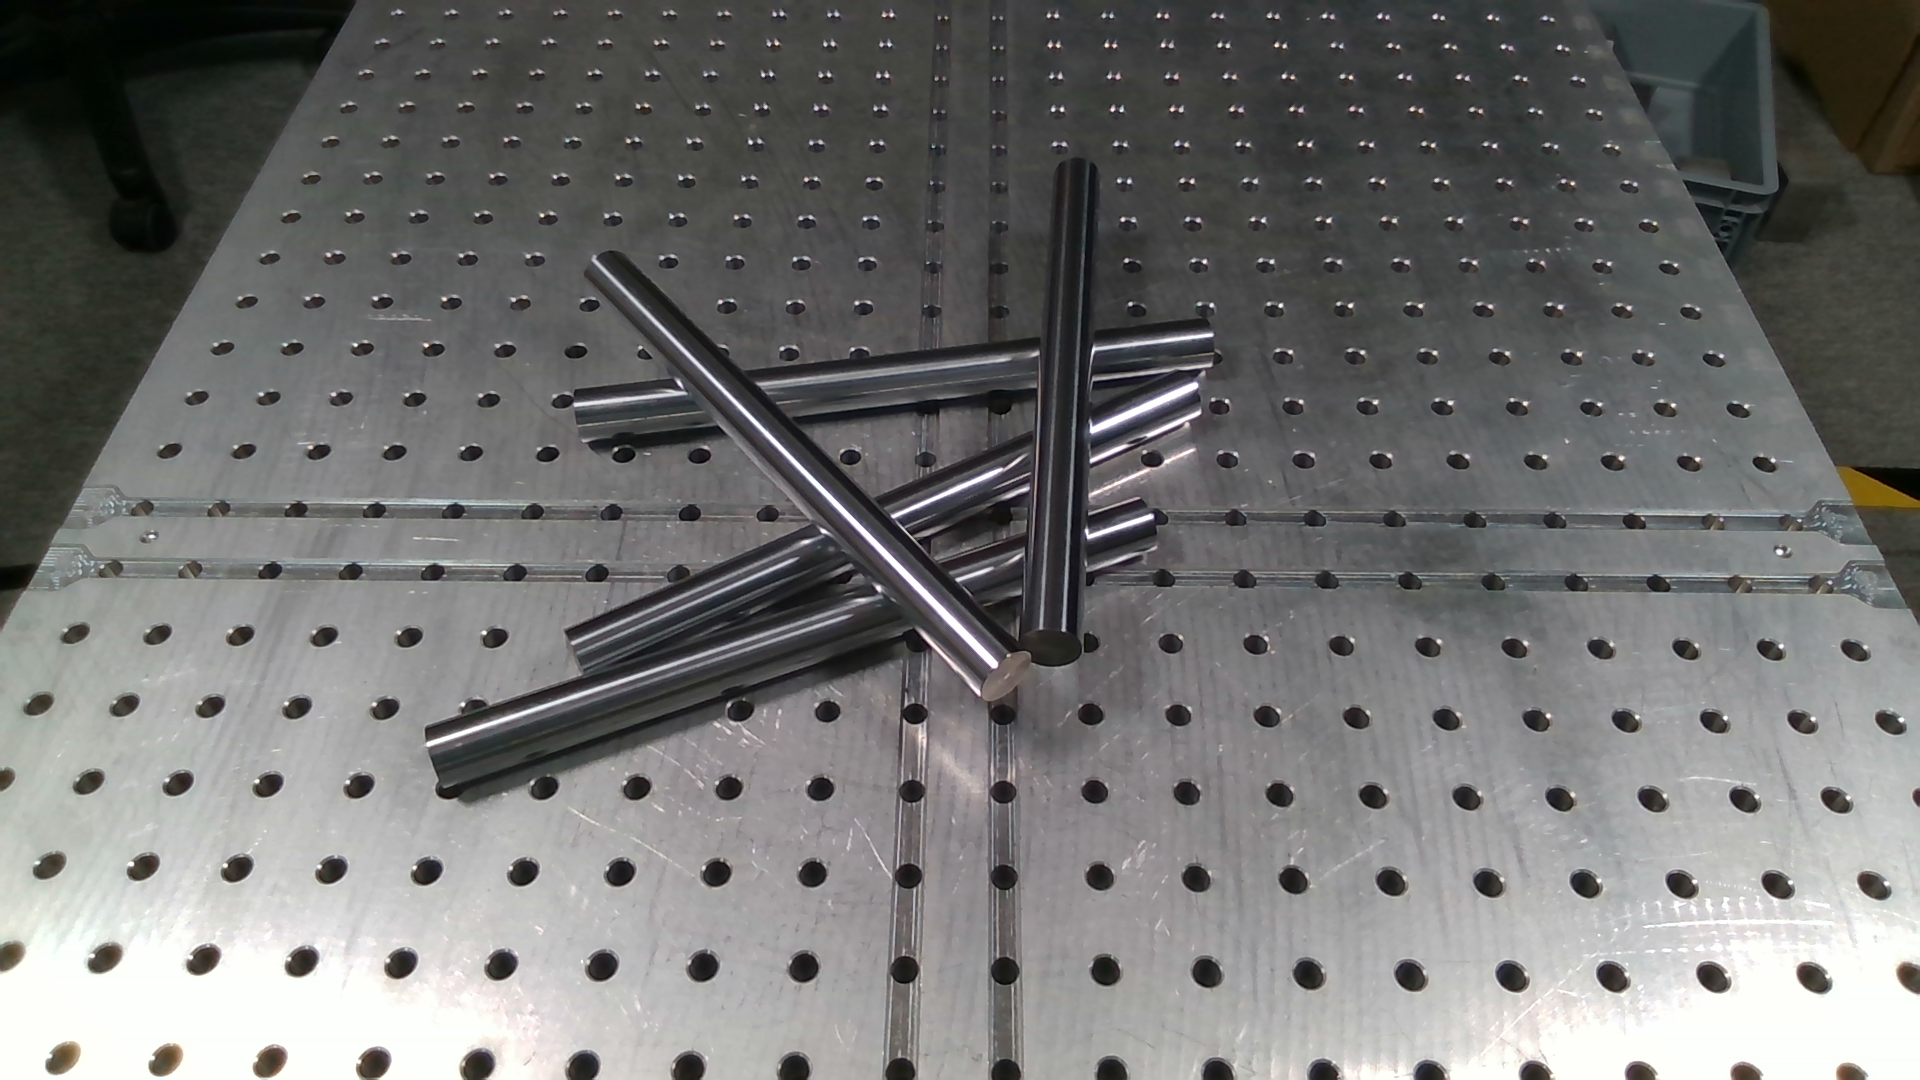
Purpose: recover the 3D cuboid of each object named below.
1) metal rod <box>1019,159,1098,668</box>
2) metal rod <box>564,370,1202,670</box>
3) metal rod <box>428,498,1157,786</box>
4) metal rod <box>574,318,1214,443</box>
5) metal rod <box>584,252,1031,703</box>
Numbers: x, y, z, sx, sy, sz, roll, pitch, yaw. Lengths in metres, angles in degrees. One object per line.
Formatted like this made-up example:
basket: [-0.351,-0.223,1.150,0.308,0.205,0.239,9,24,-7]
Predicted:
metal rod: [0.047,-0.073,0.618,0.025,0.025,0.299,4,50,3]
metal rod: [-0.024,-0.011,0.599,0.300,0.025,0.025,-24,54,-19]
metal rod: [-0.059,0.037,0.559,0.300,0.025,0.025,-18,52,-14]
metal rod: [-0.028,-0.076,0.653,0.300,0.025,0.025,-7,51,-6]
metal rod: [-0.076,-0.038,0.589,0.025,0.025,0.299,-32,57,-24]
